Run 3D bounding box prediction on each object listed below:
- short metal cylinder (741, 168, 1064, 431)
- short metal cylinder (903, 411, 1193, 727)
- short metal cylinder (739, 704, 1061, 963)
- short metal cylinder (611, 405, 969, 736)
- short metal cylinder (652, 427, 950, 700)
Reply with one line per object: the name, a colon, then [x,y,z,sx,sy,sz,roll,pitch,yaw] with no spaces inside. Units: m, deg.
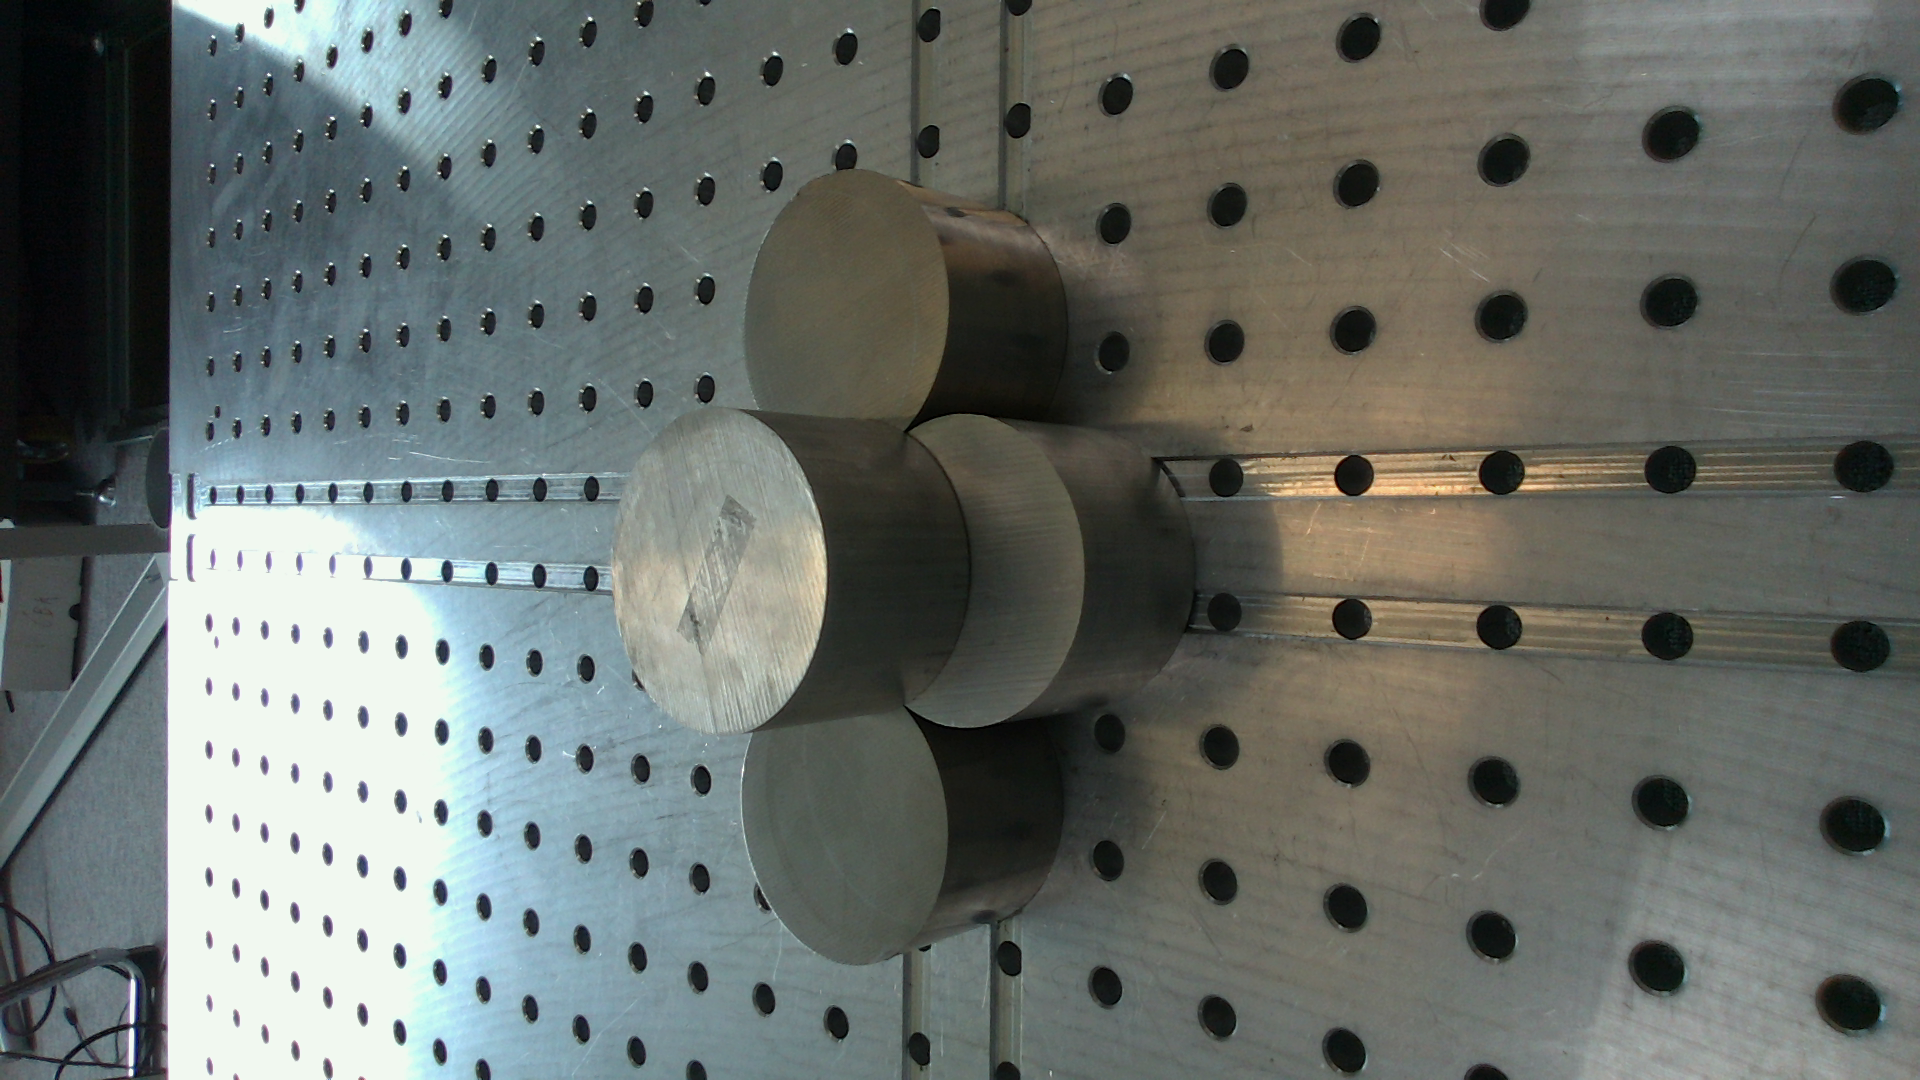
short metal cylinder: [-0.017,-0.061,0.396,0.080,0.050,0.080,0,90,39]
short metal cylinder: [0.015,0.007,0.369,0.080,0.050,0.080,0,90,40]
short metal cylinder: [-0.018,0.076,0.396,0.080,0.050,0.080,-2,86,40]
short metal cylinder: [-0.044,0.007,0.352,0.080,0.050,0.080,0,90,40]
short metal cylinder: [-0.050,0.007,0.423,0.080,0.050,0.080,0,90,40]
